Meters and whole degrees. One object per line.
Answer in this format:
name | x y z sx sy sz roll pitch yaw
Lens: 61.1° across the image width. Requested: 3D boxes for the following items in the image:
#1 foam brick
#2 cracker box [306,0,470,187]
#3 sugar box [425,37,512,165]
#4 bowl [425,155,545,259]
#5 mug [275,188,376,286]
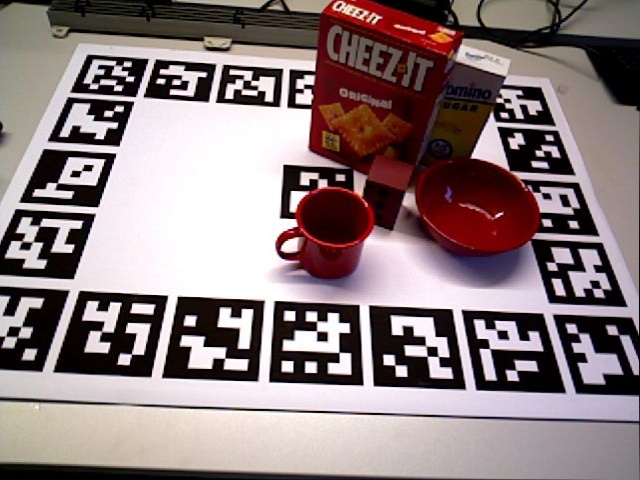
foam brick | 0.084 -0.061 0.700 0.052 0.080 0.050 16 51 7
cracker box | 0.076 -0.187 0.702 0.164 0.219 0.070 28 52 14
sugar box | 0.184 -0.179 0.729 0.093 0.180 0.044 20 52 10
bowl | 0.205 -0.032 0.684 0.160 0.056 0.159 2 53 -4
mug | 0.003 0.000 0.632 0.116 0.083 0.092 -5 45 -7
